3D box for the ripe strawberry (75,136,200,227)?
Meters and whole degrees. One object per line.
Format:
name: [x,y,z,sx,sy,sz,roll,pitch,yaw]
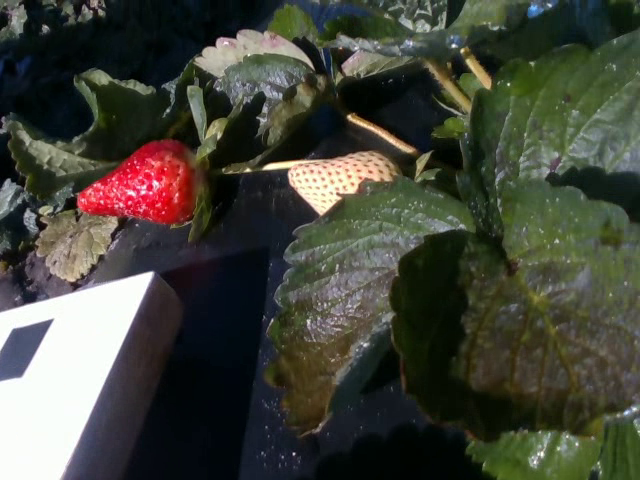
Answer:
ripe strawberry: [-0.079,-0.023,0.281,0.069,0.040,0.048,-20,36,10]
